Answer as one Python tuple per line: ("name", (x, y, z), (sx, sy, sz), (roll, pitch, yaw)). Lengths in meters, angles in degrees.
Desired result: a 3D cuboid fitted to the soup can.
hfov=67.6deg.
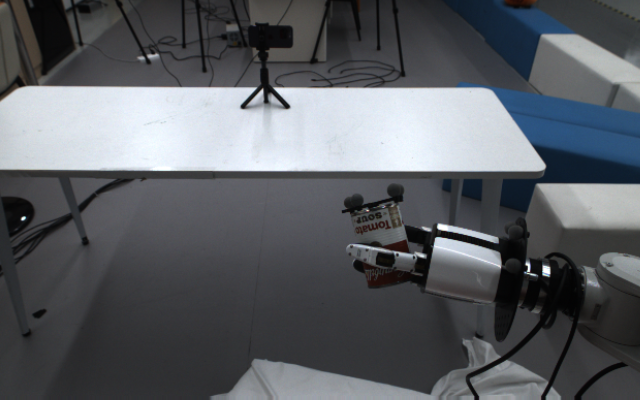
("soup can", (0.085, 0.059, 0.645), (0.067, 0.101, 0.067), (-14, -2, -1))
